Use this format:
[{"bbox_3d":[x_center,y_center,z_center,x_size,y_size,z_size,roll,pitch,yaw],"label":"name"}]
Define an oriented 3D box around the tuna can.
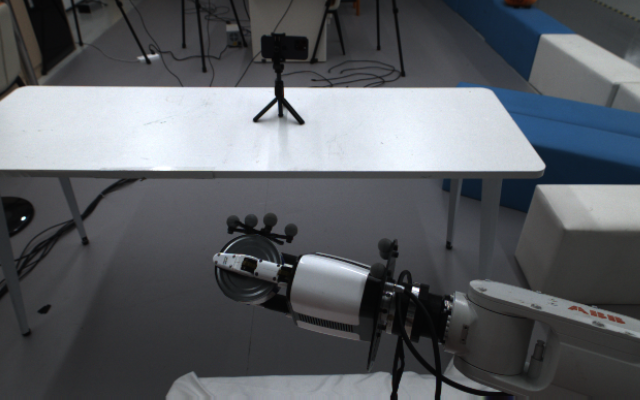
[{"bbox_3d":[-0.086,0.087,0.612,0.085,0.034,0.085,-3,69,7],"label":"tuna can"}]
